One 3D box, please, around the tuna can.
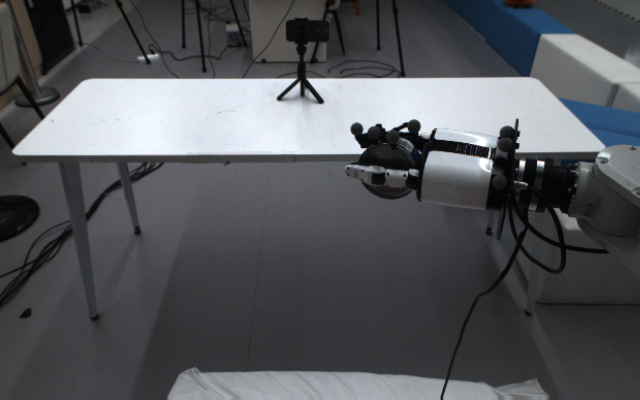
[{"bbox_3d":[0.099,-0.047,0.676,0.085,0.085,0.034,15,34,17],"label":"tuna can"}]
